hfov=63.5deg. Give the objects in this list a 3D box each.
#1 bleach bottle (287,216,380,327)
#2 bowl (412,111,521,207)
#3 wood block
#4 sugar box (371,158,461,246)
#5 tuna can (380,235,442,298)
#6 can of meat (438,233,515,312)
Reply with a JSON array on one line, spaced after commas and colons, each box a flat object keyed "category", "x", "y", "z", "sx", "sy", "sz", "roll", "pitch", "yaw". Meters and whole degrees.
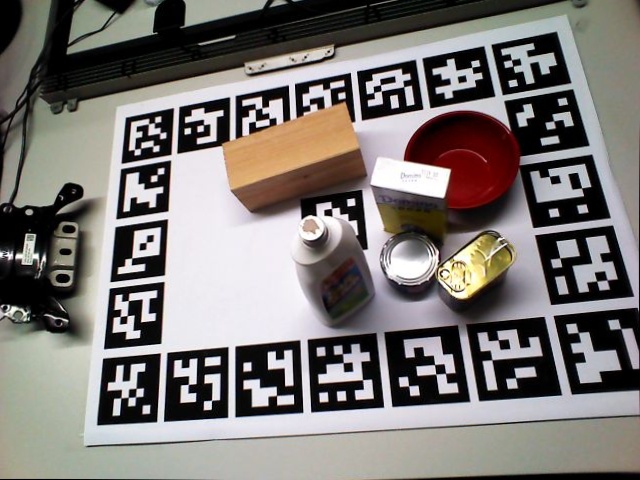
[{"category": "bleach bottle", "x": 0.010, "y": 0.037, "z": 0.647, "sx": 0.103, "sy": 0.251, "sz": 0.068, "roll": -32, "pitch": 64, "yaw": 1}, {"category": "bowl", "x": 0.219, "y": -0.112, "z": 0.756, "sx": 0.162, "sy": 0.055, "sz": 0.161, "roll": -7, "pitch": 68, "yaw": 16}, {"category": "wood block", "x": -0.039, "y": -0.123, "z": 0.811, "sx": 0.207, "sy": 0.090, "sz": 0.090, "roll": -17, "pitch": 71, "yaw": 7}, {"category": "sugar box", "x": 0.132, "y": -0.047, "z": 0.684, "sx": 0.093, "sy": 0.176, "sz": 0.045, "roll": 12, "pitch": 75, "yaw": 22}, {"category": "tuna can", "x": 0.129, "y": 0.038, "z": 0.730, "sx": 0.086, "sy": 0.034, "sz": 0.085, "roll": -4, "pitch": 72, "yaw": 13}, {"category": "can of meat", "x": 0.210, "y": 0.043, "z": 0.687, "sx": 0.102, "sy": 0.084, "sz": 0.058, "roll": -36, "pitch": 62, "yaw": -3}]
